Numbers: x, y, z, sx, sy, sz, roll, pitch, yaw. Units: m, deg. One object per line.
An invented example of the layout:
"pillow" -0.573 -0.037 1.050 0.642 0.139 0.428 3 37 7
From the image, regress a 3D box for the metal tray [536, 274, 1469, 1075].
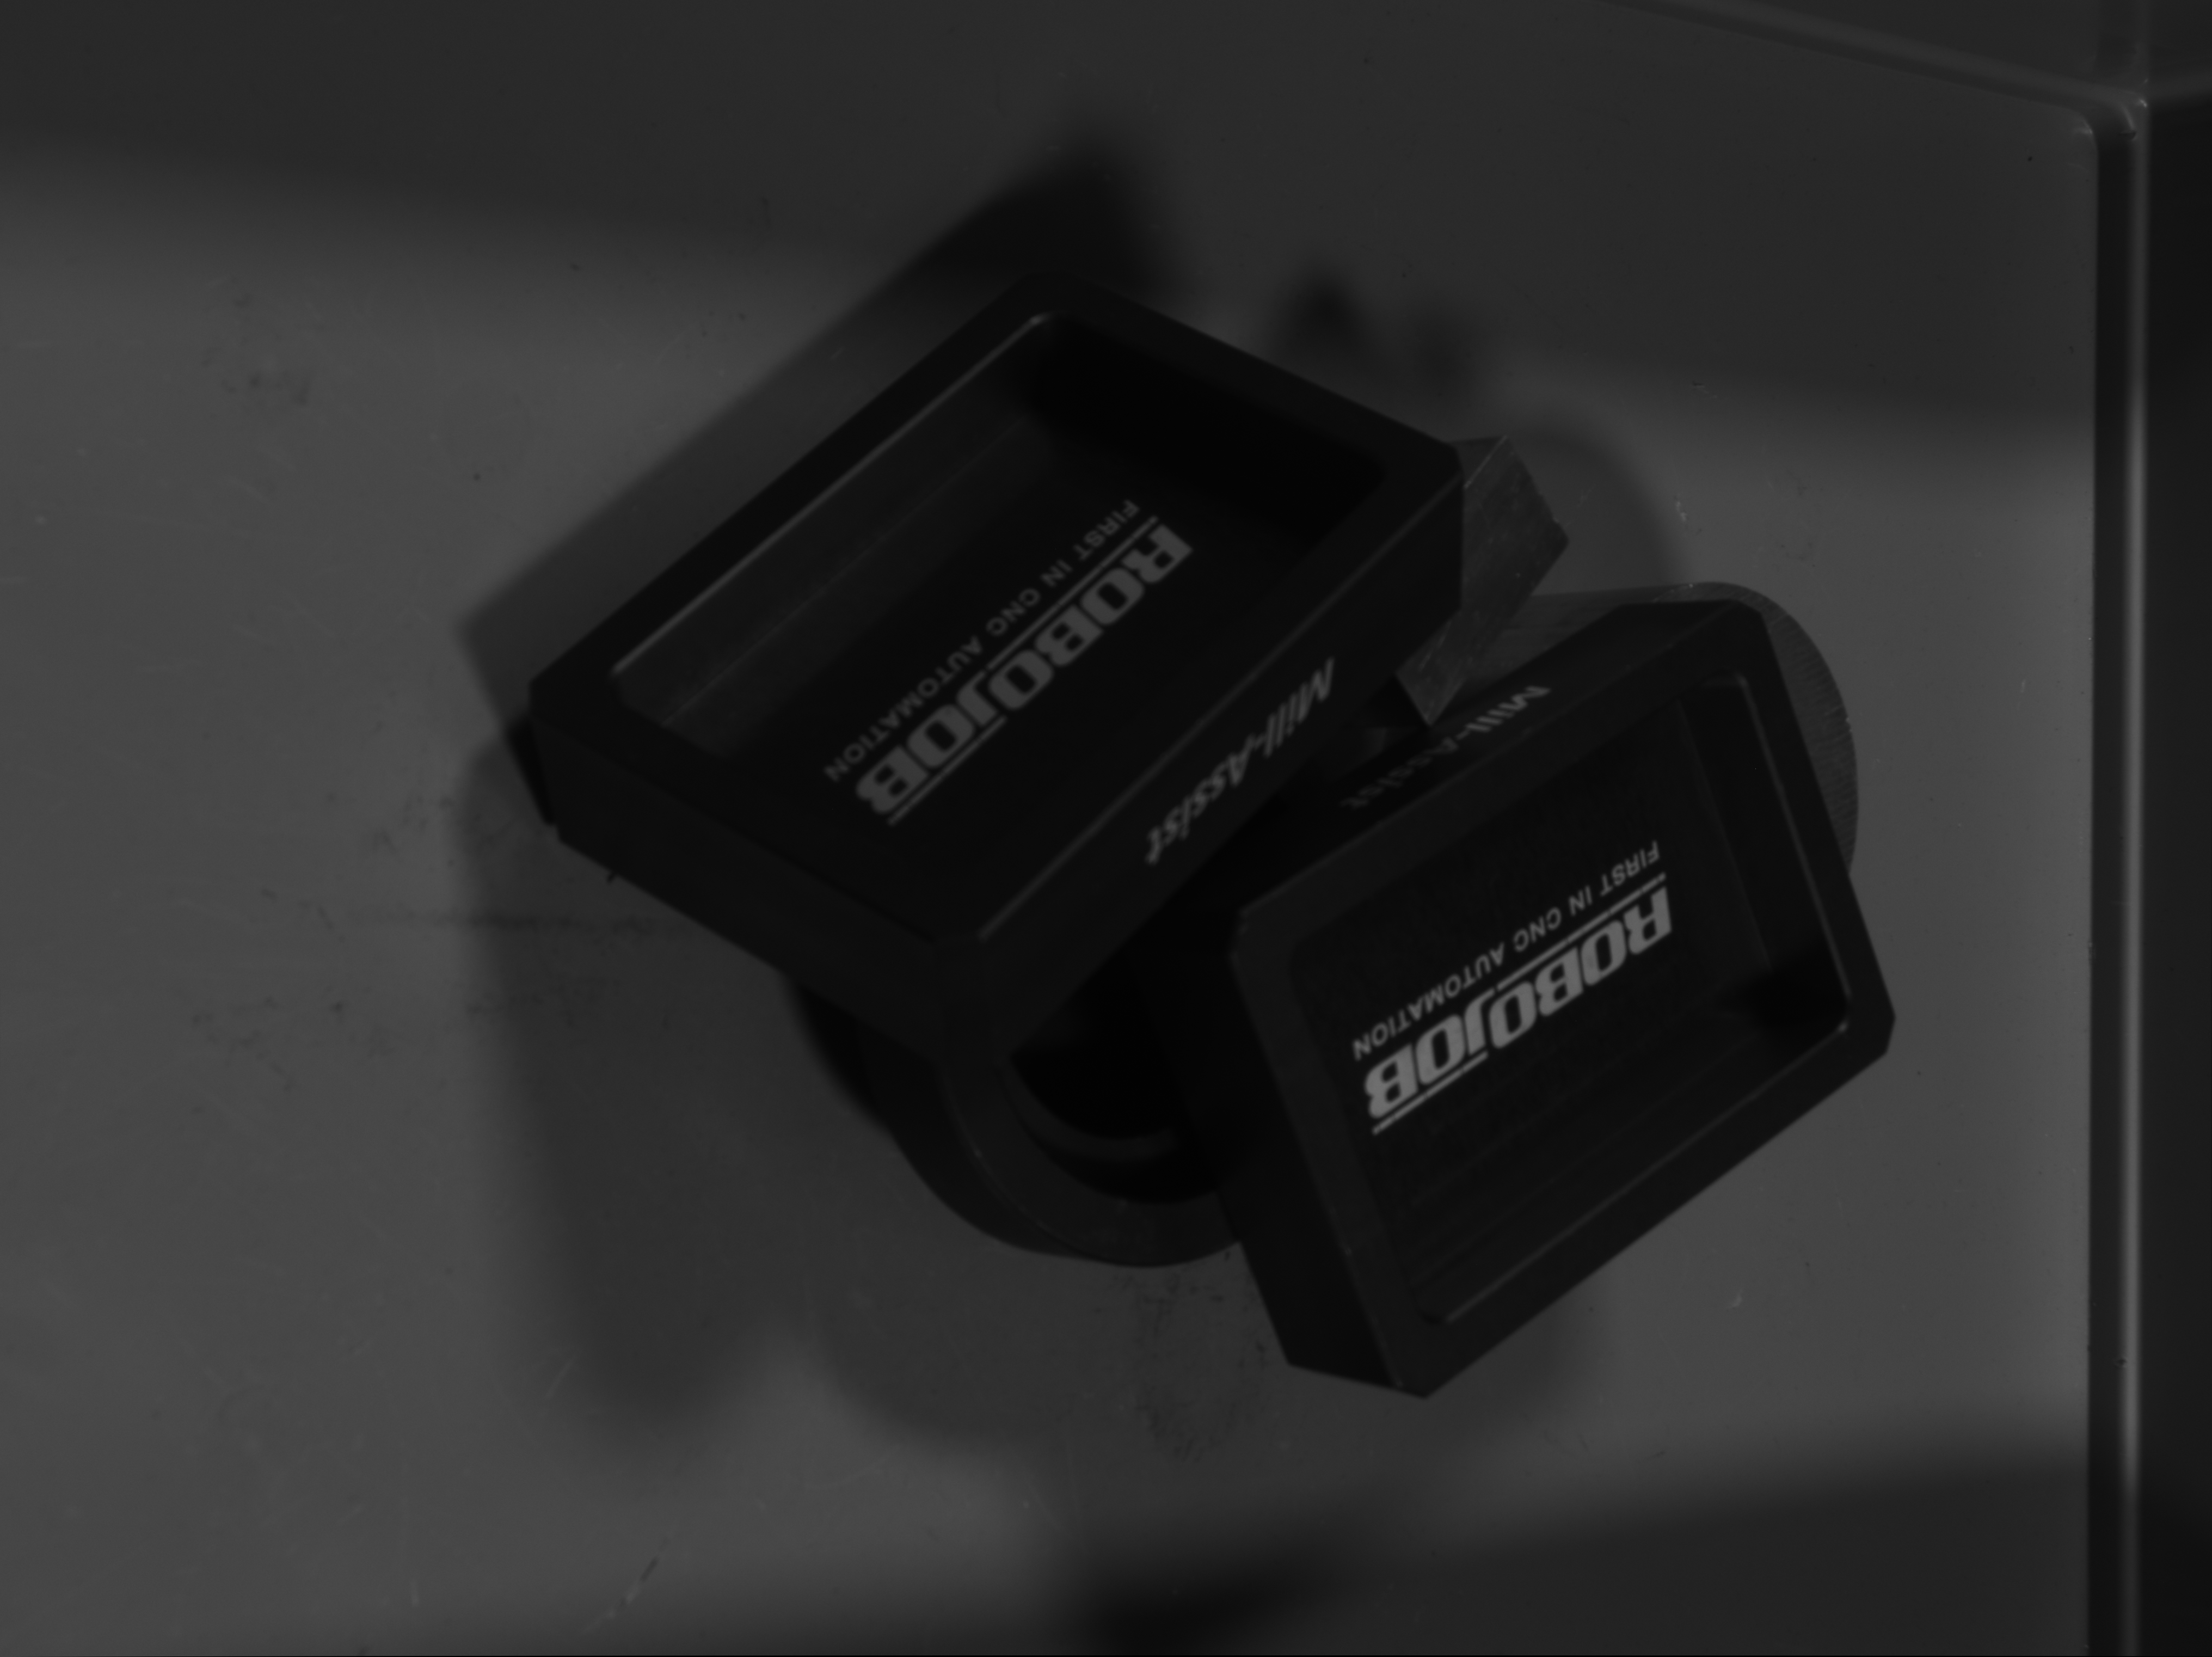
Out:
"metal tray" -0.014 -0.029 0.580 0.130 0.090 0.030 -44 148 -31

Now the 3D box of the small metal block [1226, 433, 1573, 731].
"small metal block" 0.047 -0.043 0.658 0.050 0.050 0.025 -51 120 -29

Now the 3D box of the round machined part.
"round machined part" -0.004 0.024 0.623 0.098 0.042 0.098 0 90 -40

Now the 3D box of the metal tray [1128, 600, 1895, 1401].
"metal tray" 0.073 0.027 0.631 0.130 0.030 0.090 -31 108 -31

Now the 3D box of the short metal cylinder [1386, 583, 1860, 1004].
"short metal cylinder" 0.099 -0.006 0.701 0.080 0.050 0.080 0 90 -40
